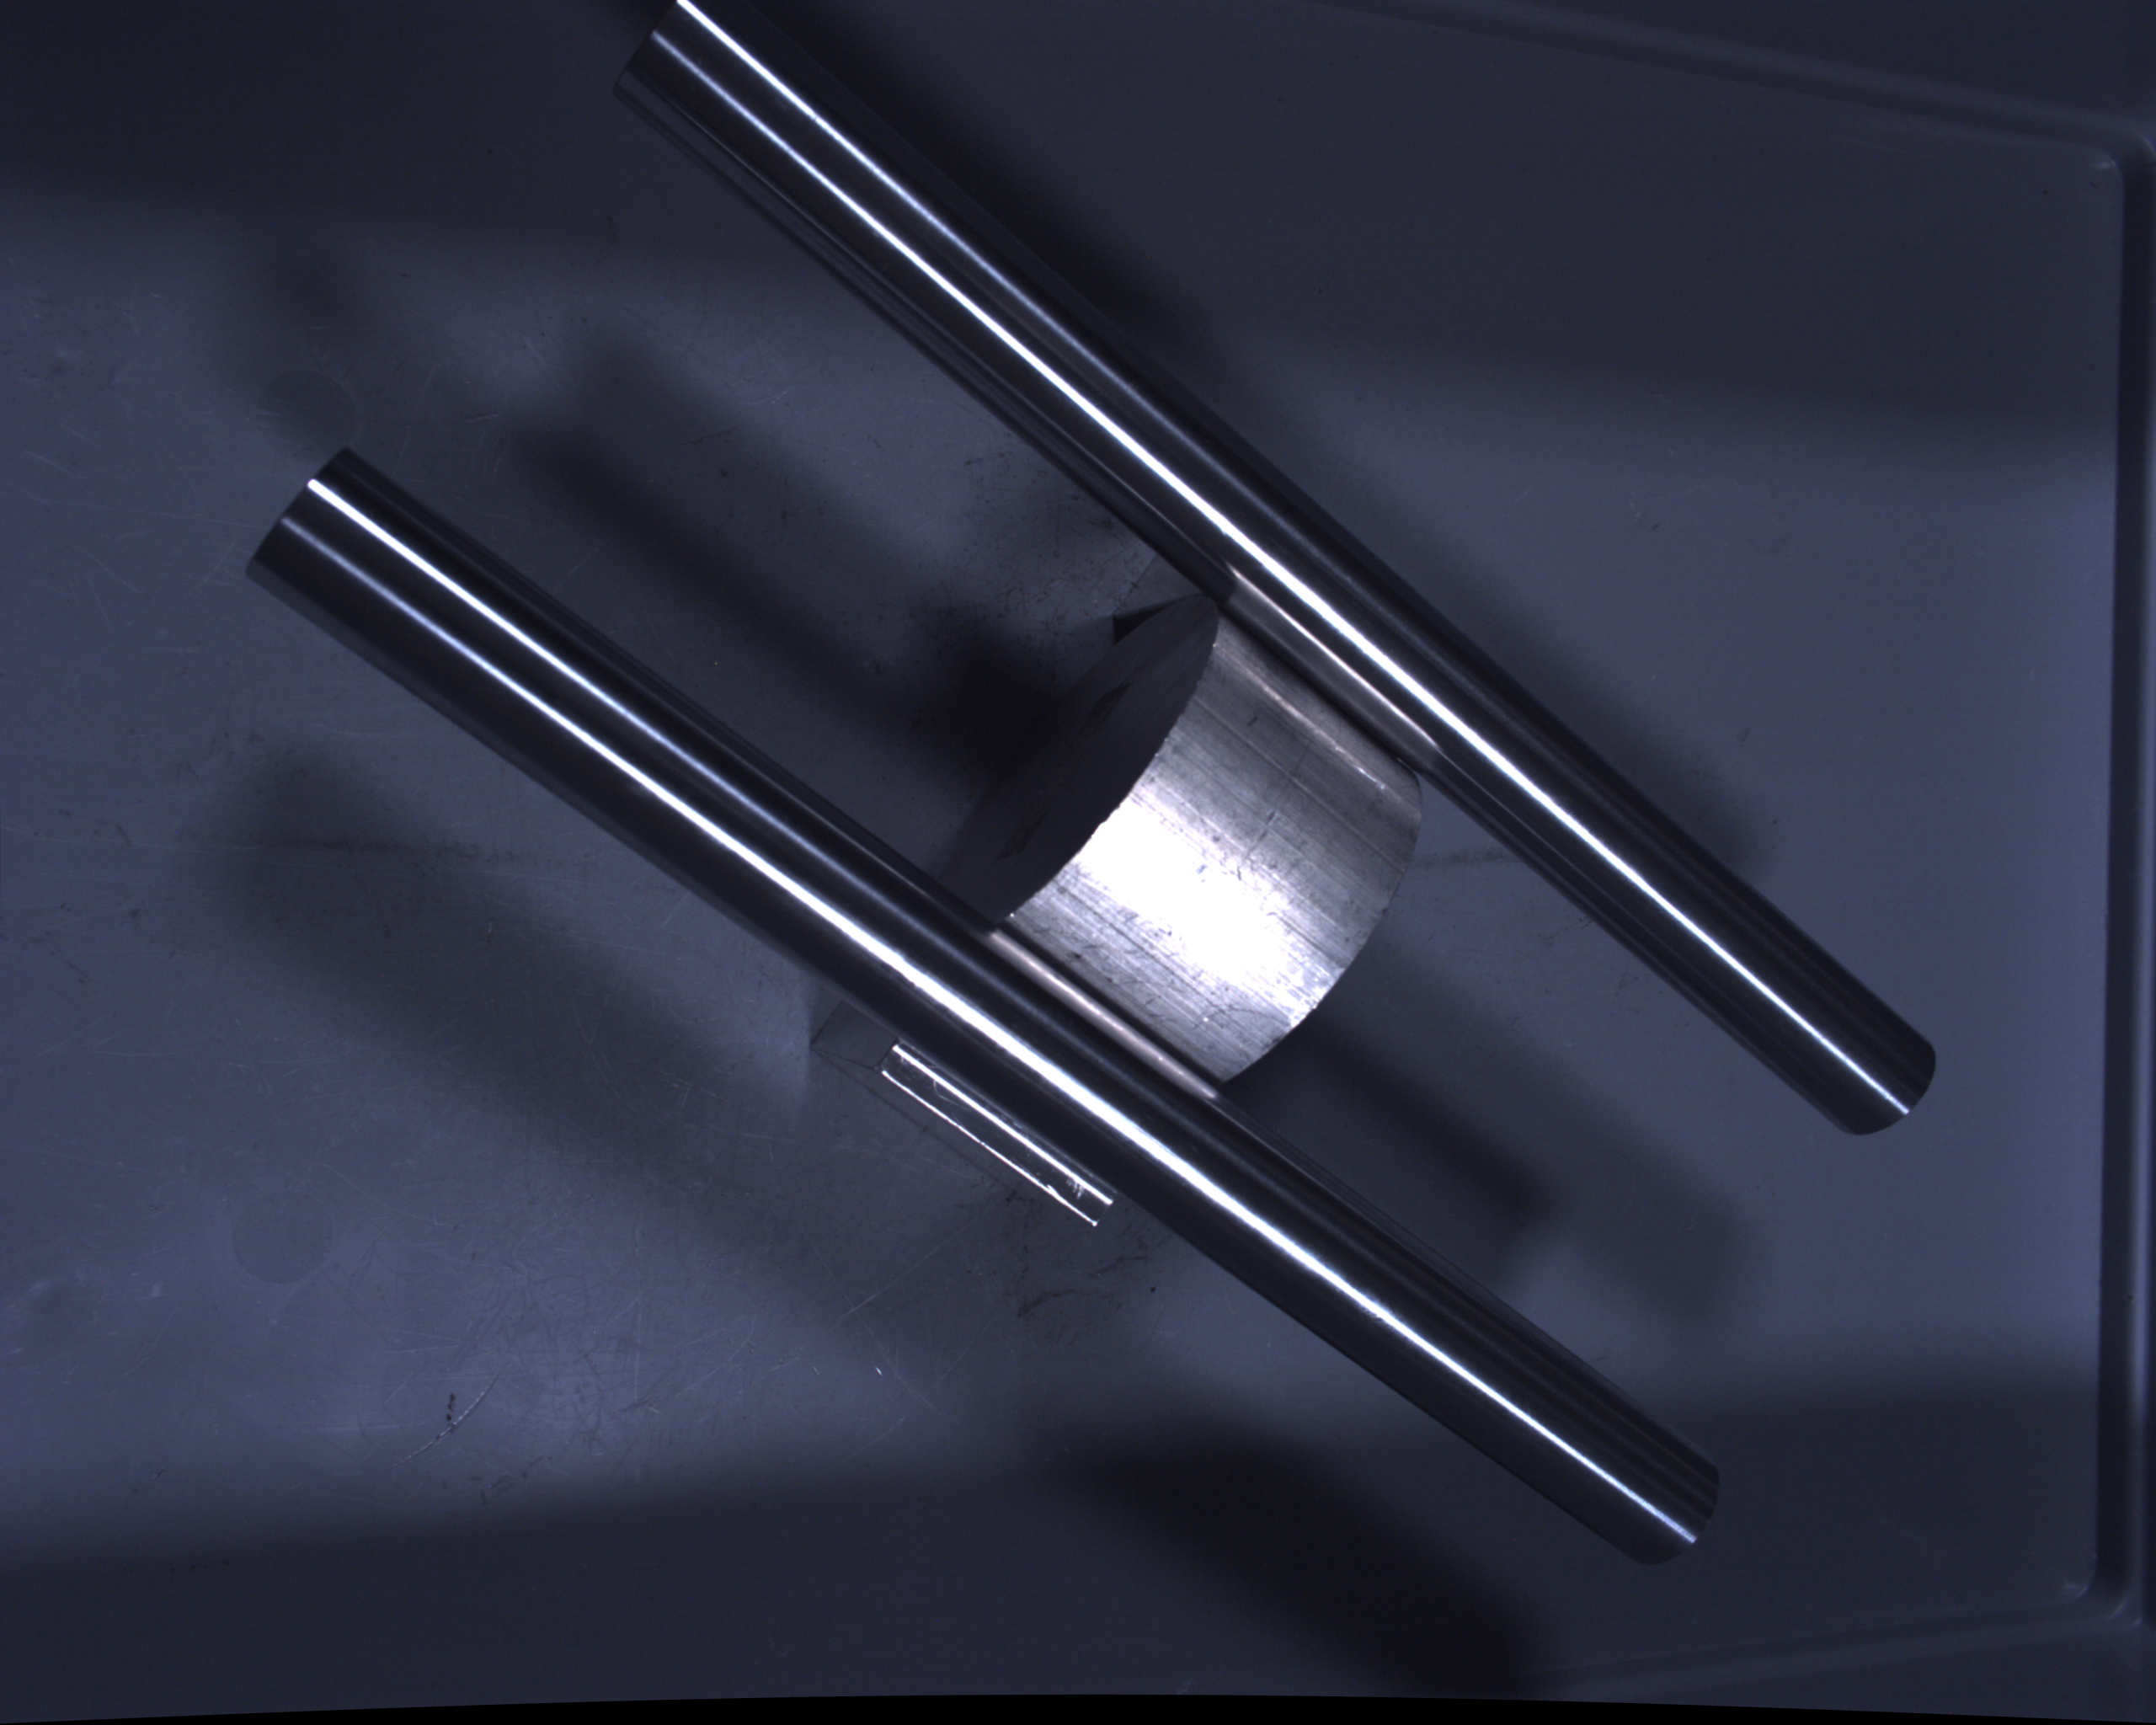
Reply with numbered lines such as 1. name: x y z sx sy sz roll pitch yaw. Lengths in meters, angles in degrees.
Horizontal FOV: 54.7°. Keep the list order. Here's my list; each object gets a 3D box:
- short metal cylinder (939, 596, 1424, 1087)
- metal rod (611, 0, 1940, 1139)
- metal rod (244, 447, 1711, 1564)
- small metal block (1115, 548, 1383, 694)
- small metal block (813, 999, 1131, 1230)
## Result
1. short metal cylinder: 0.017 -0.003 0.387 0.050 0.080 0.080 38 78 -17
2. metal rod: 0.048 -0.043 0.375 0.301 0.025 0.025 38 78 -17
3. metal rod: -0.003 0.035 0.357 0.301 0.025 0.025 37 78 -16
4. small metal block: 0.042 -0.045 0.412 0.050 0.050 0.025 38 78 -16
5. small metal block: -0.017 0.040 0.390 0.050 0.050 0.025 38 78 -16
